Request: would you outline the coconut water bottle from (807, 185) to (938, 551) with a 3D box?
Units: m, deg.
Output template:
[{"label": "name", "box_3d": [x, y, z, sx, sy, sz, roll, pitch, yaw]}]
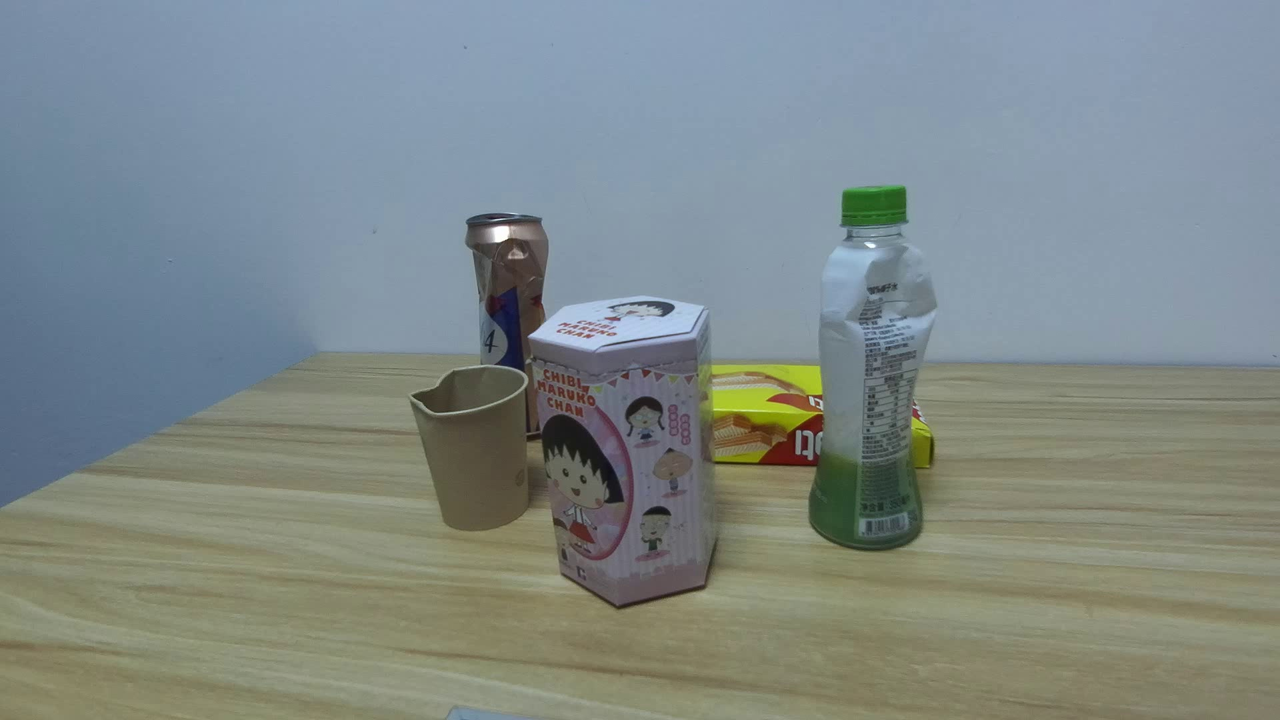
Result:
[{"label": "coconut water bottle", "box_3d": [0.123, 0.004, 0.375, 0.067, 0.187, 0.067, -3, 17, 1]}]

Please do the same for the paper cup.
[{"label": "paper cup", "box_3d": [-0.099, 0.055, 0.437, 0.069, 0.081, 0.073, -17, 22, -34]}]

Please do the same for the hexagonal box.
[{"label": "hexagonal box", "box_3d": [-0.005, 0.044, 0.362, 0.091, 0.136, 0.084, 14, 26, 42]}]

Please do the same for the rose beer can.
[{"label": "rose beer can", "box_3d": [-0.093, -0.025, 0.542, 0.065, 0.167, 0.075, -5, 17, -8]}]
